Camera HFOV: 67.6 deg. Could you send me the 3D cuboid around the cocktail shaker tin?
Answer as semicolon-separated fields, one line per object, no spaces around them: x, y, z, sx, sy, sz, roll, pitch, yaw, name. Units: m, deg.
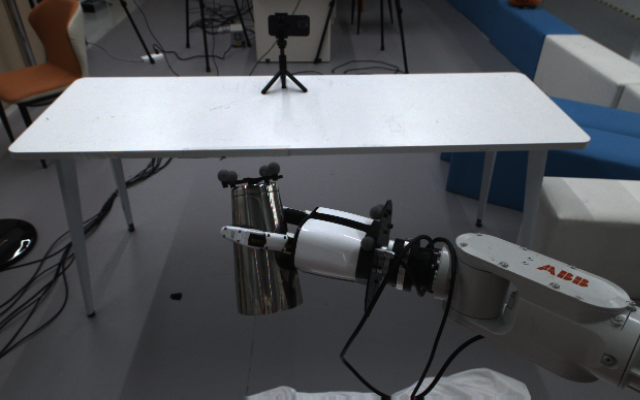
-0.080;0.065;0.675;0.093;0.170;0.093;-8;1;0;cocktail shaker tin
